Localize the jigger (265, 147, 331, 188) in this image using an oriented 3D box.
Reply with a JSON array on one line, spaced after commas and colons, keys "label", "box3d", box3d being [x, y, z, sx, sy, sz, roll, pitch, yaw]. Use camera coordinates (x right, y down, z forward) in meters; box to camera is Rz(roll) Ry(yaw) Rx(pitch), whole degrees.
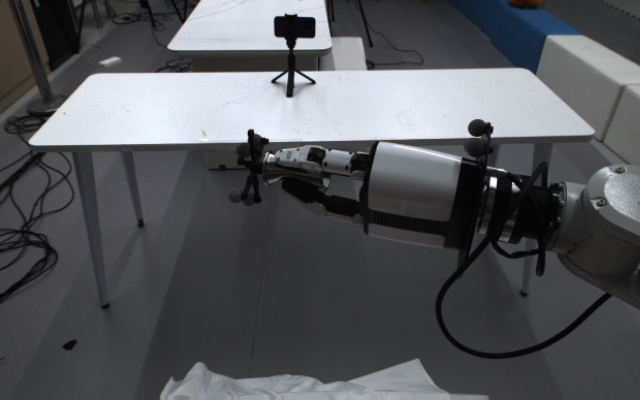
[{"label": "jigger", "box3d": [-0.018, -0.037, 0.536, 0.071, 0.043, 0.043, 4, 34, 13]}]
